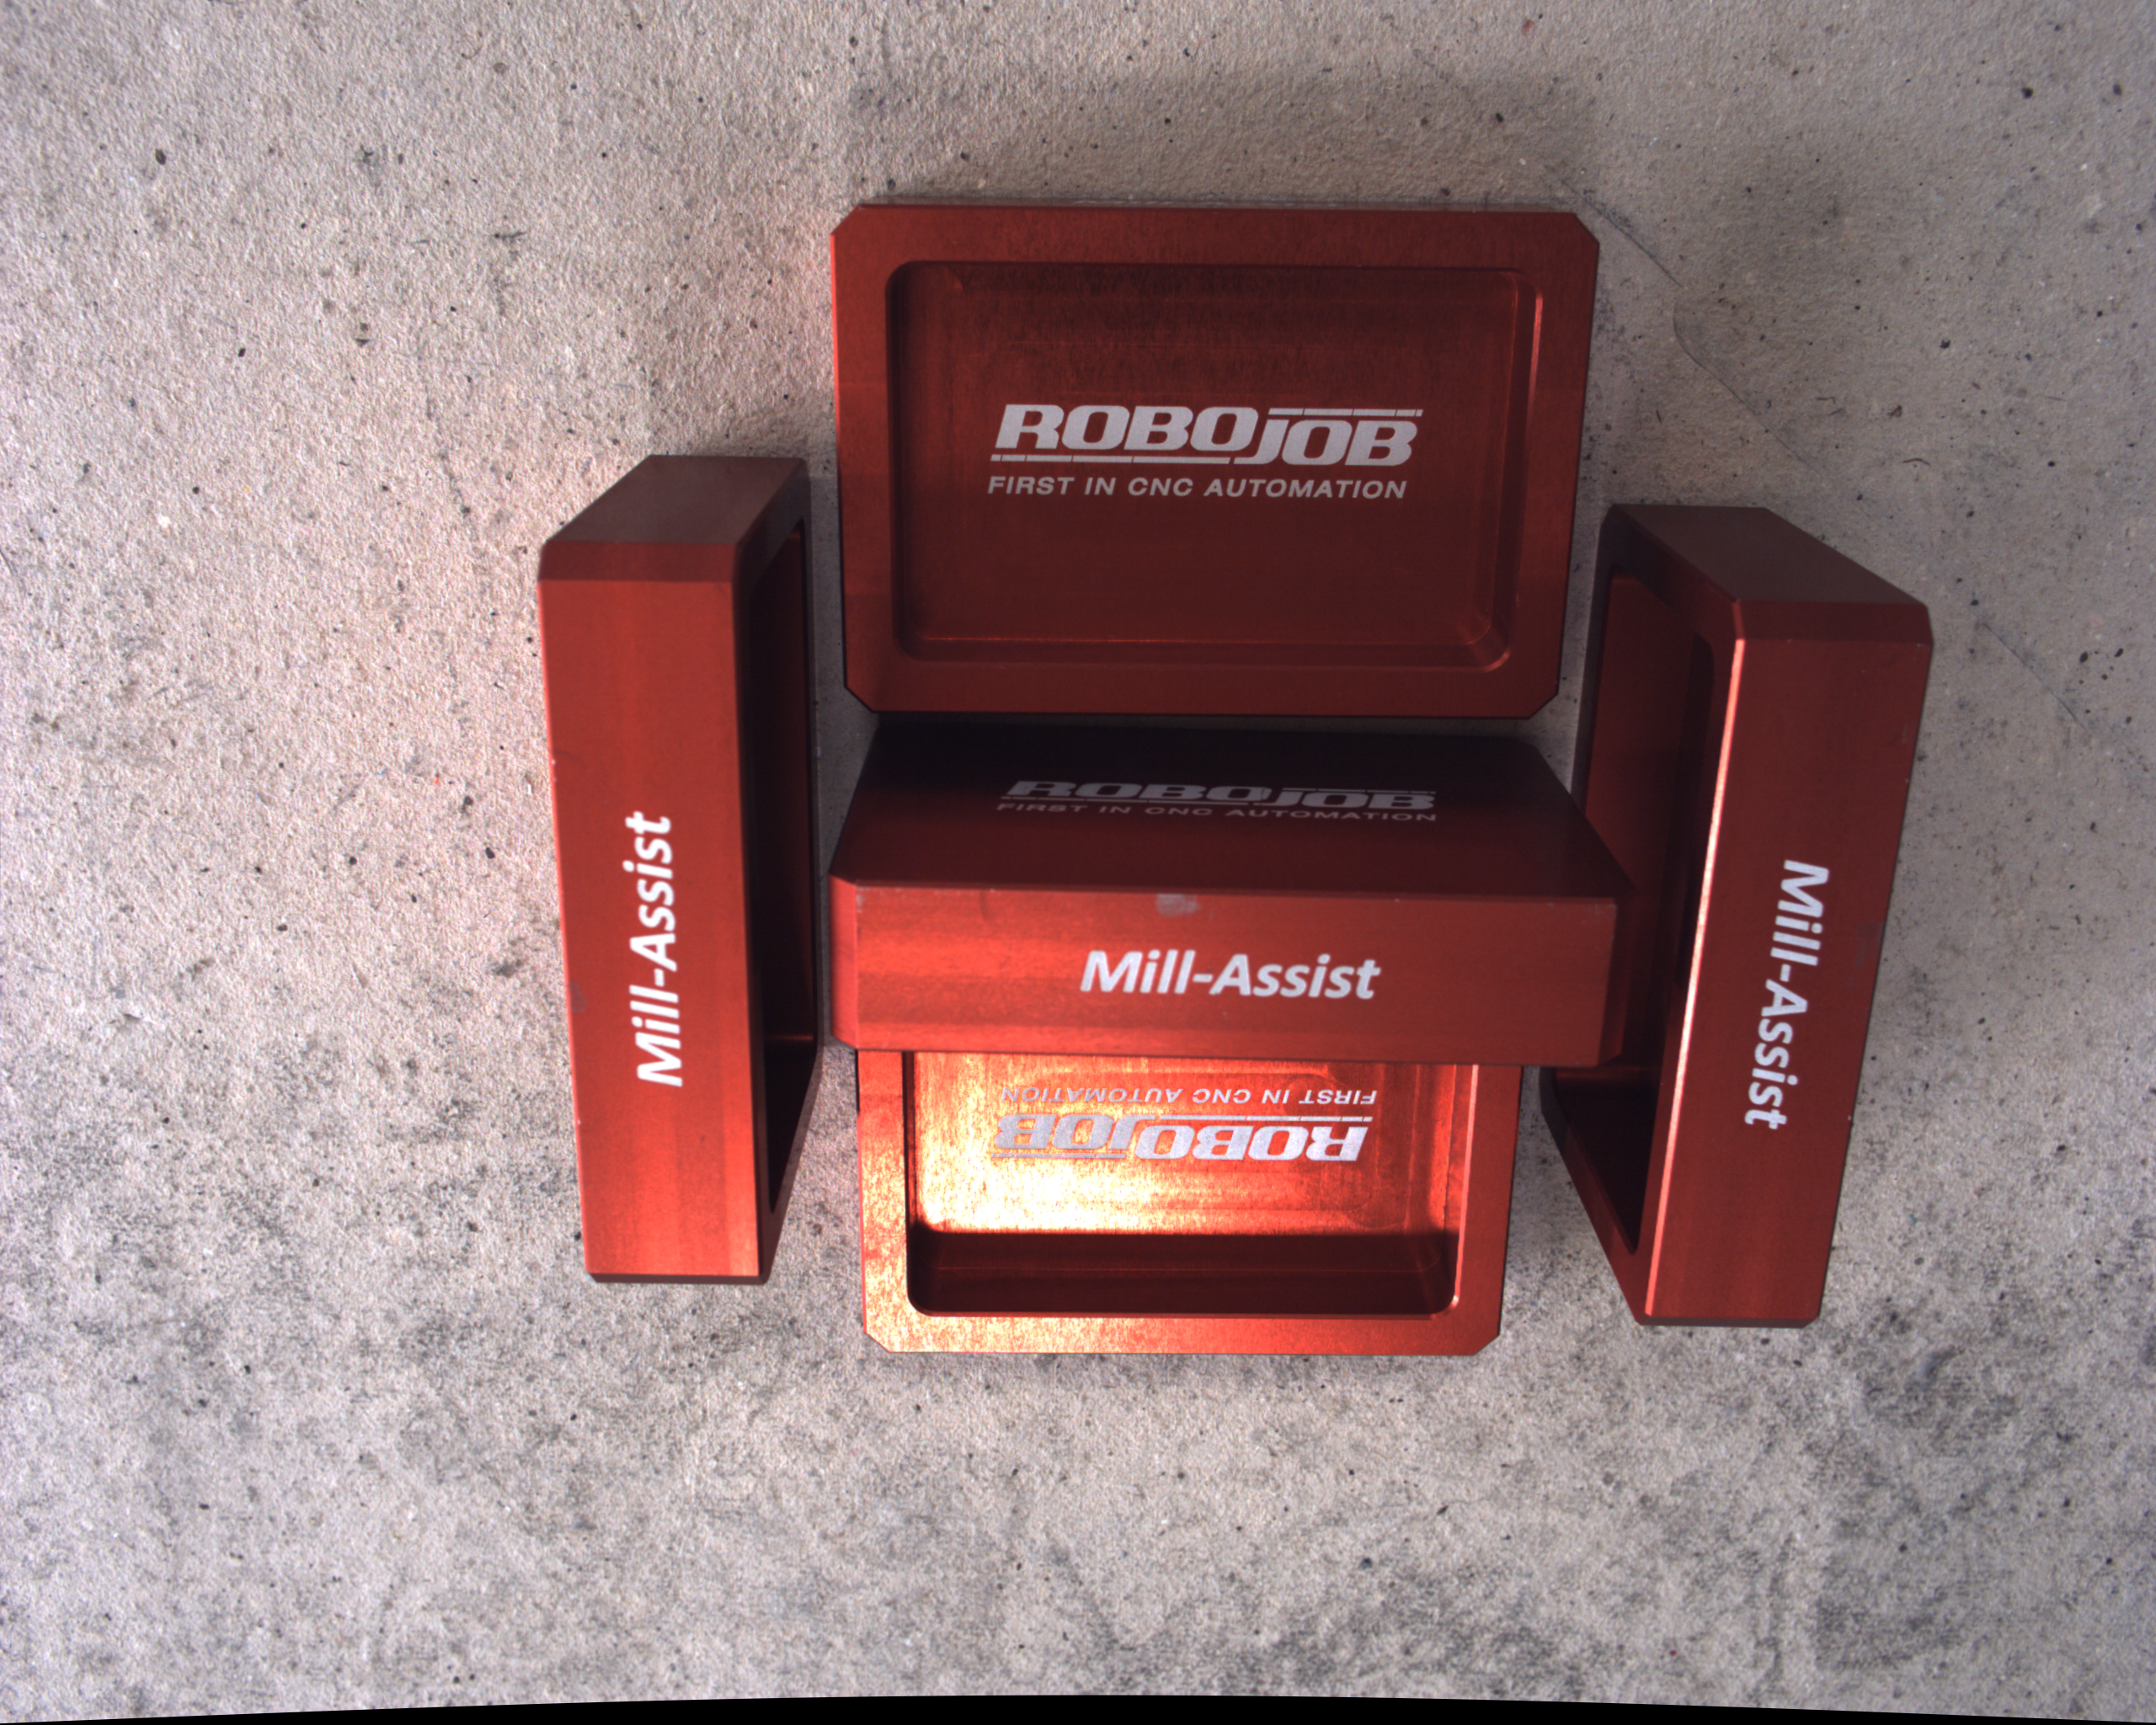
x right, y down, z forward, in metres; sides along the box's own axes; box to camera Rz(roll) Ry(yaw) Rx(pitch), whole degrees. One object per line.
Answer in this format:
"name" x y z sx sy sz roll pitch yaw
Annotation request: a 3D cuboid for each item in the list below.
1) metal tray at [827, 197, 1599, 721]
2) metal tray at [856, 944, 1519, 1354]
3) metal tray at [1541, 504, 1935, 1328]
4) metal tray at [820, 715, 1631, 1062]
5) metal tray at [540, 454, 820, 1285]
"metal tray" 0.023 -0.073 0.382 0.131 0.030 0.089 0 113 -1
"metal tray" 0.021 0.054 0.430 0.131 0.030 0.089 1 109 -1
"metal tray" 0.114 0.007 0.380 0.030 0.090 0.129 1 110 0
"metal tray" 0.024 0.002 0.379 0.131 0.090 0.030 1 111 -1
"metal tray" -0.067 -0.002 0.375 0.030 0.090 0.129 1 111 -1
